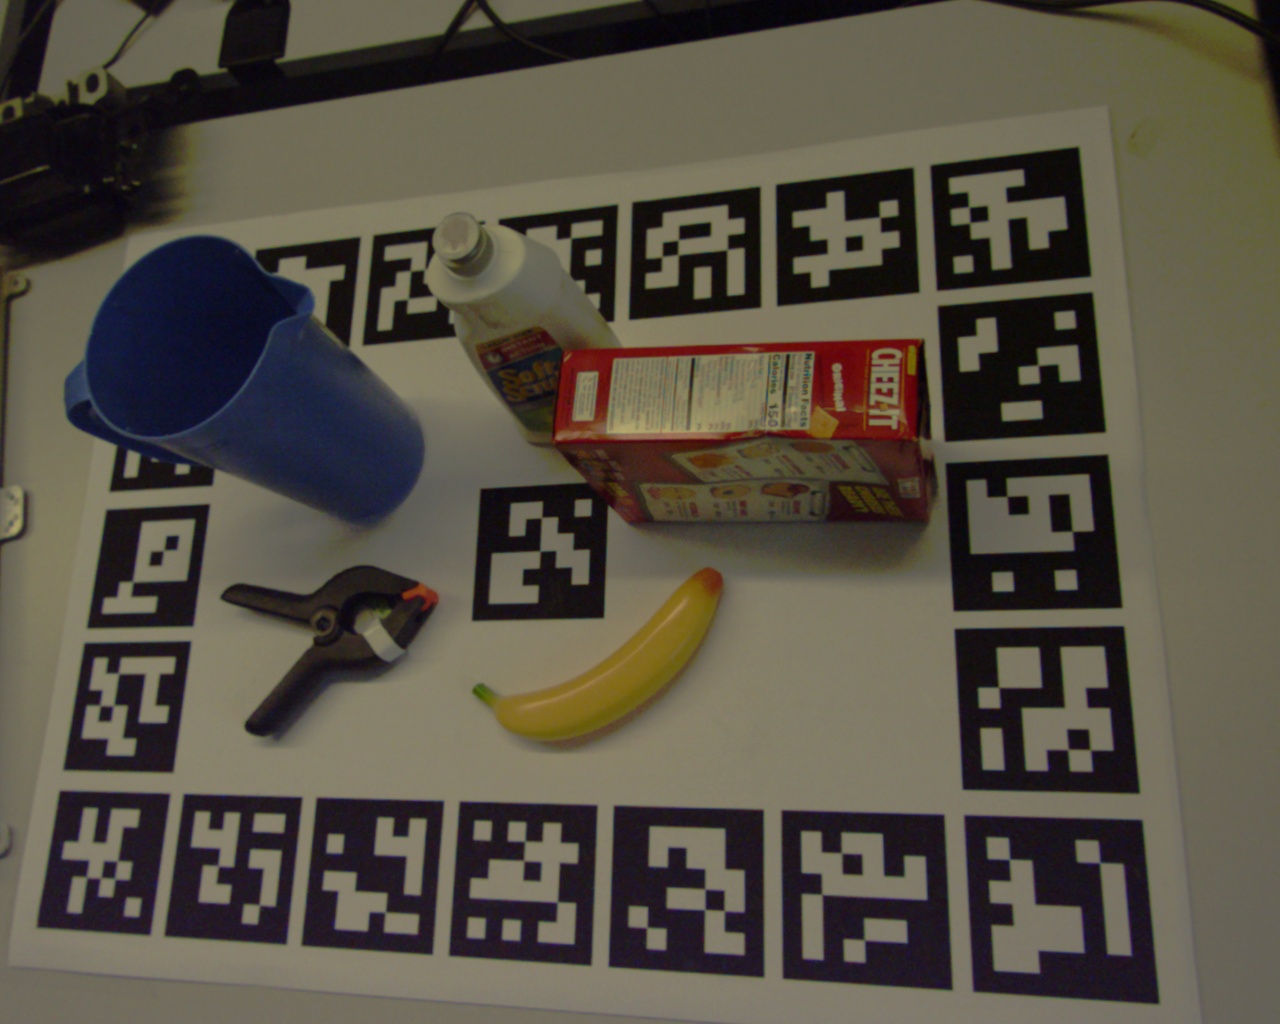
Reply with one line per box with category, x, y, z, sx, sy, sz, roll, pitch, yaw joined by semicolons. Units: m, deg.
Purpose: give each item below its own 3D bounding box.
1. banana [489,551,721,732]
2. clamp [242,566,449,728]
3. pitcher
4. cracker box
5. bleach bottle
banana;-0.015;0.102;0.826;0.197;0.038;0.075;-36;66;3
clamp;-0.229;0.089;0.888;0.166;0.036;0.122;-19;67;9
pitcher;-0.268;-0.074;0.819;0.189;0.240;0.134;-21;67;6
cracker box;0.073;-0.045;0.755;0.215;0.162;0.072;-2;69;18
bleach bottle;-0.081;-0.117;0.796;0.103;0.248;0.068;-3;71;15
